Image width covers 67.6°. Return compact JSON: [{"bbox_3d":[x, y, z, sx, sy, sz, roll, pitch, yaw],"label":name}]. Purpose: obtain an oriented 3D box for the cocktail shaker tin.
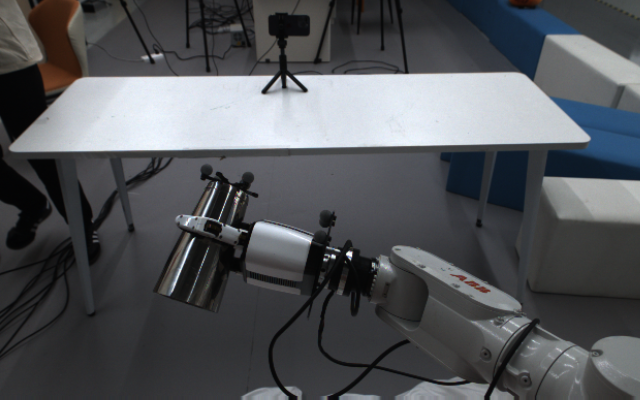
[{"bbox_3d":[-0.162,0.064,0.684,0.093,0.093,0.170,13,71,15],"label":"cocktail shaker tin"}]
